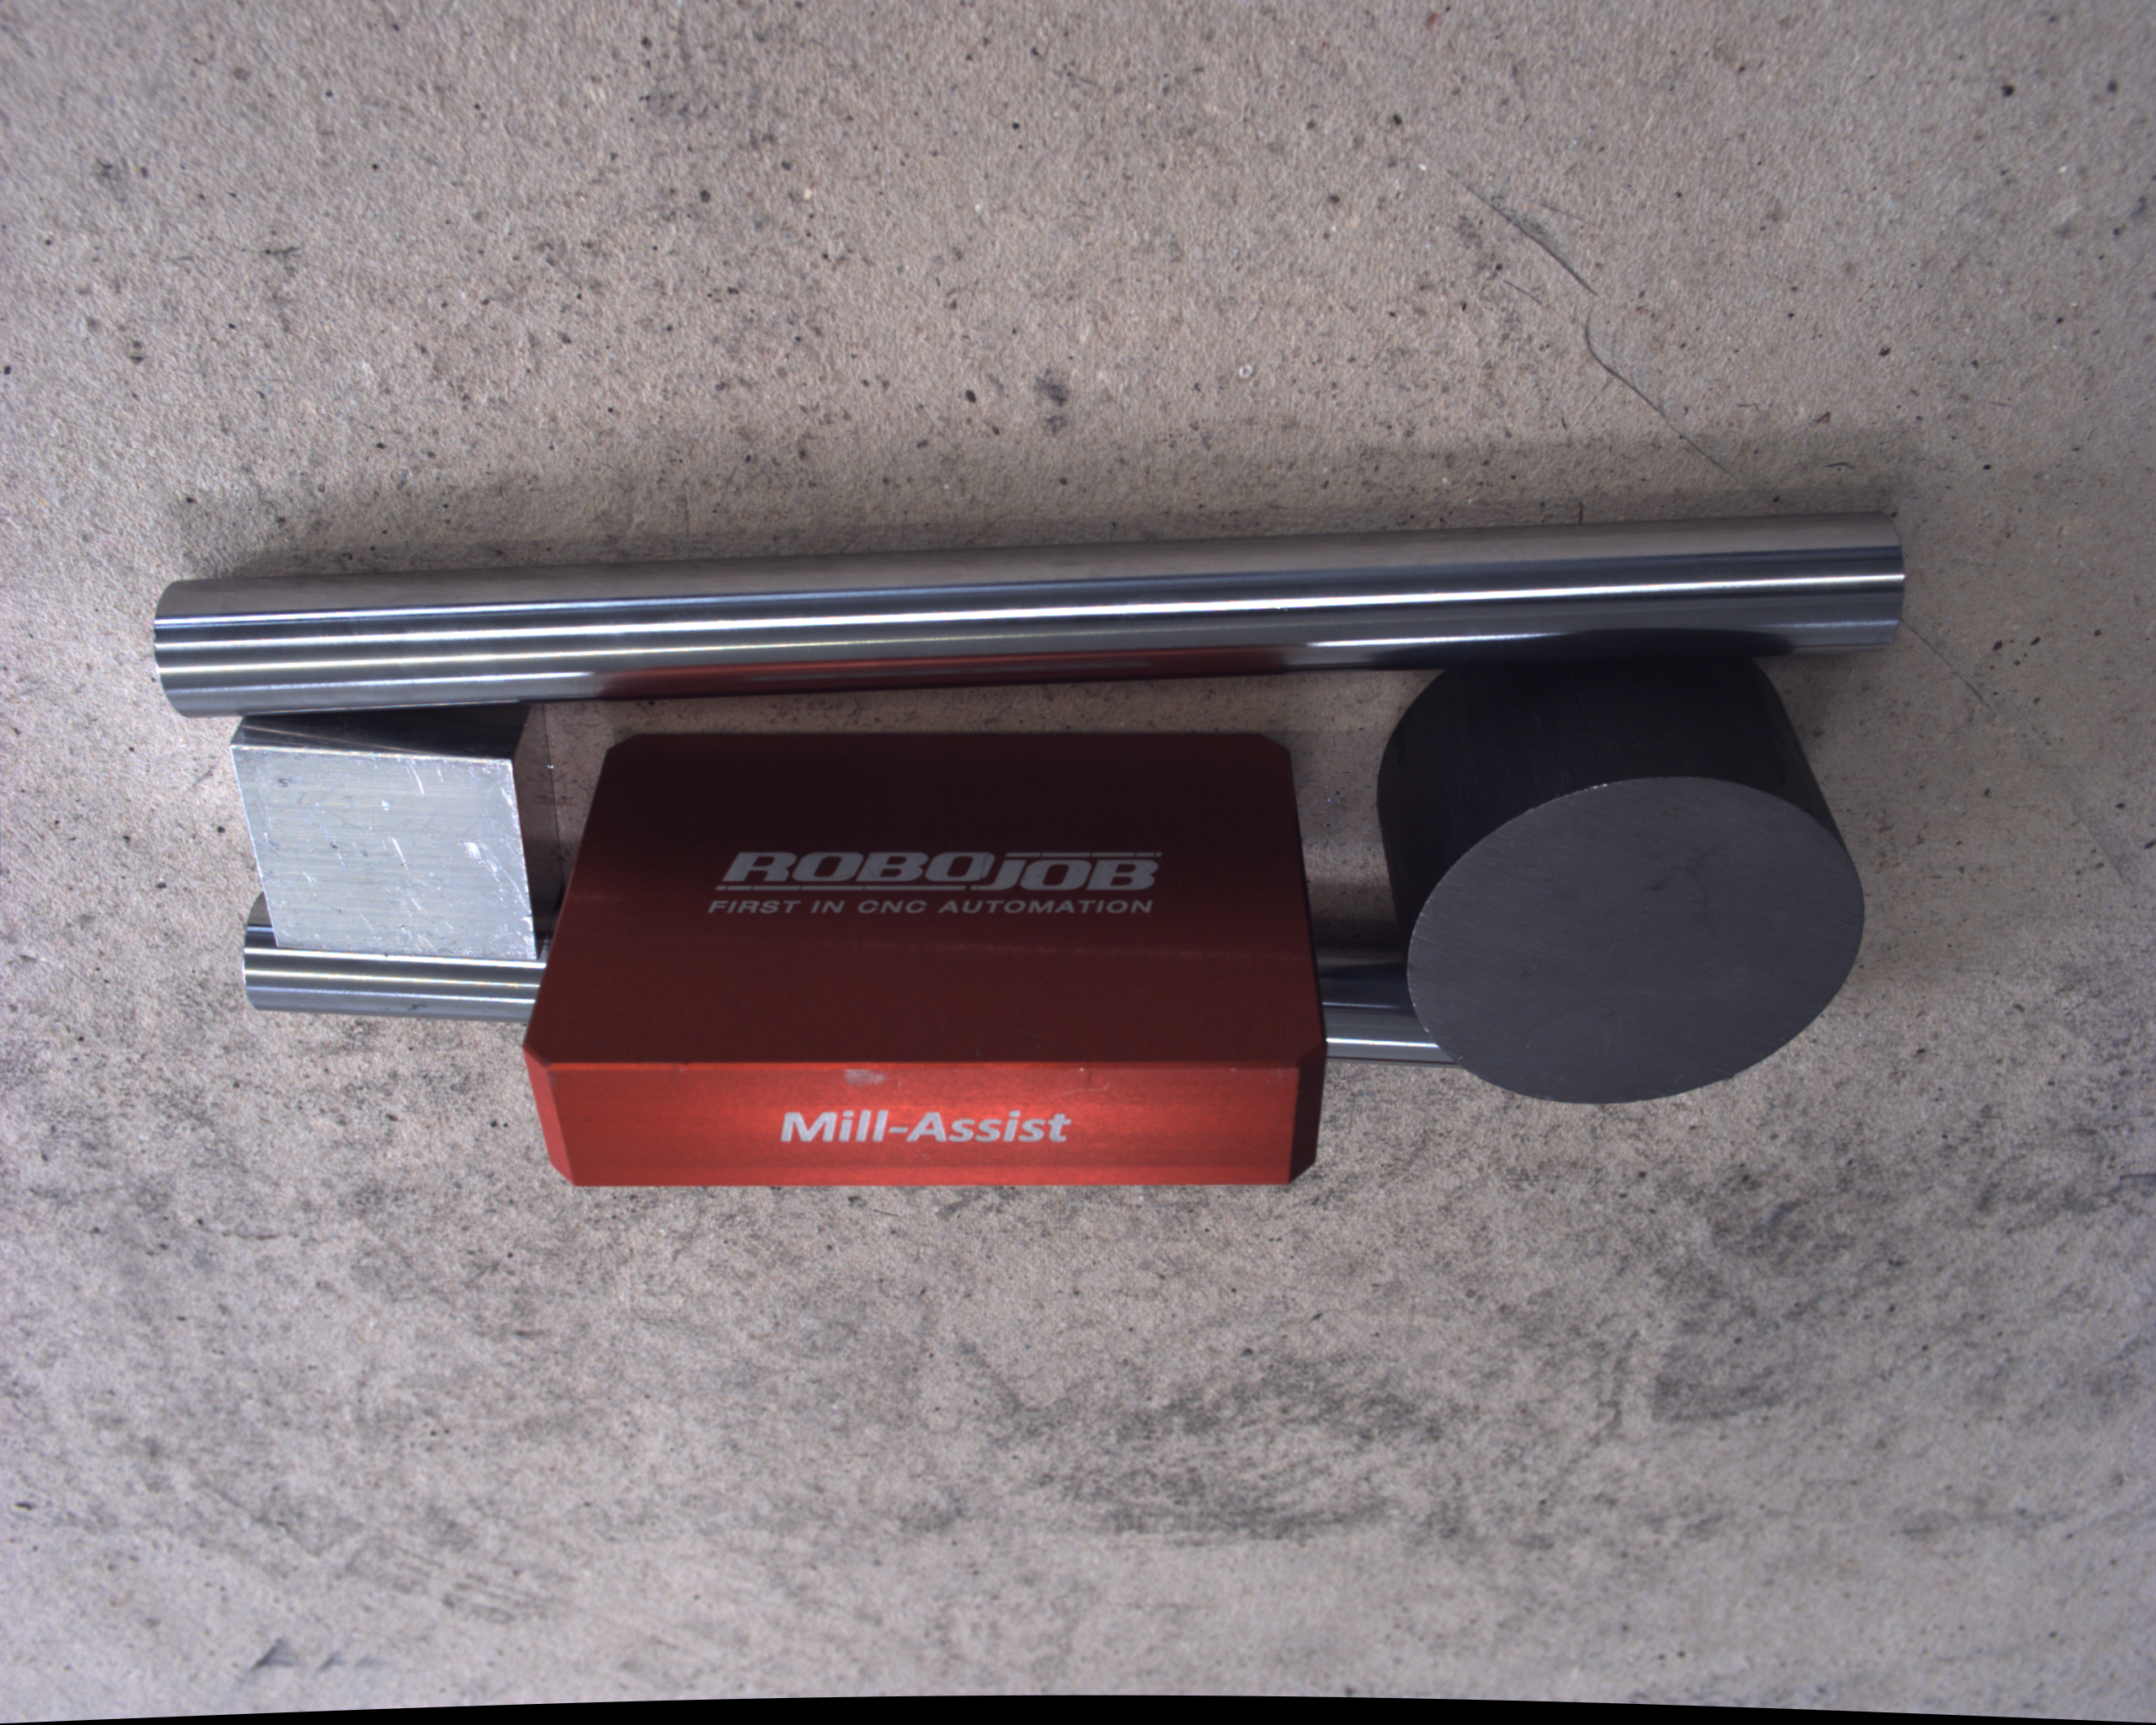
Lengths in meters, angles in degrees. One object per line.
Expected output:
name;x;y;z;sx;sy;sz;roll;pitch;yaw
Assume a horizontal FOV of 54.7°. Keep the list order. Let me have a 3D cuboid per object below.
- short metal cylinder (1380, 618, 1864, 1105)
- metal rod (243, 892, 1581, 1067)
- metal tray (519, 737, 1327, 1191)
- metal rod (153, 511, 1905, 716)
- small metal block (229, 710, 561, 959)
short metal cylinder;0.099;0.000;0.393;0.081;0.050;0.079;0;130;0
metal rod;-0.014;0.025;0.430;0.302;0.025;0.025;3;130;-3
metal tray;-0.025;0.016;0.377;0.131;0.090;0.030;0;130;0
metal rod;-0.009;-0.044;0.371;0.302;0.025;0.025;-2;130;1
small metal block;-0.129;-0.009;0.400;0.050;0.025;0.050;3;130;-3
